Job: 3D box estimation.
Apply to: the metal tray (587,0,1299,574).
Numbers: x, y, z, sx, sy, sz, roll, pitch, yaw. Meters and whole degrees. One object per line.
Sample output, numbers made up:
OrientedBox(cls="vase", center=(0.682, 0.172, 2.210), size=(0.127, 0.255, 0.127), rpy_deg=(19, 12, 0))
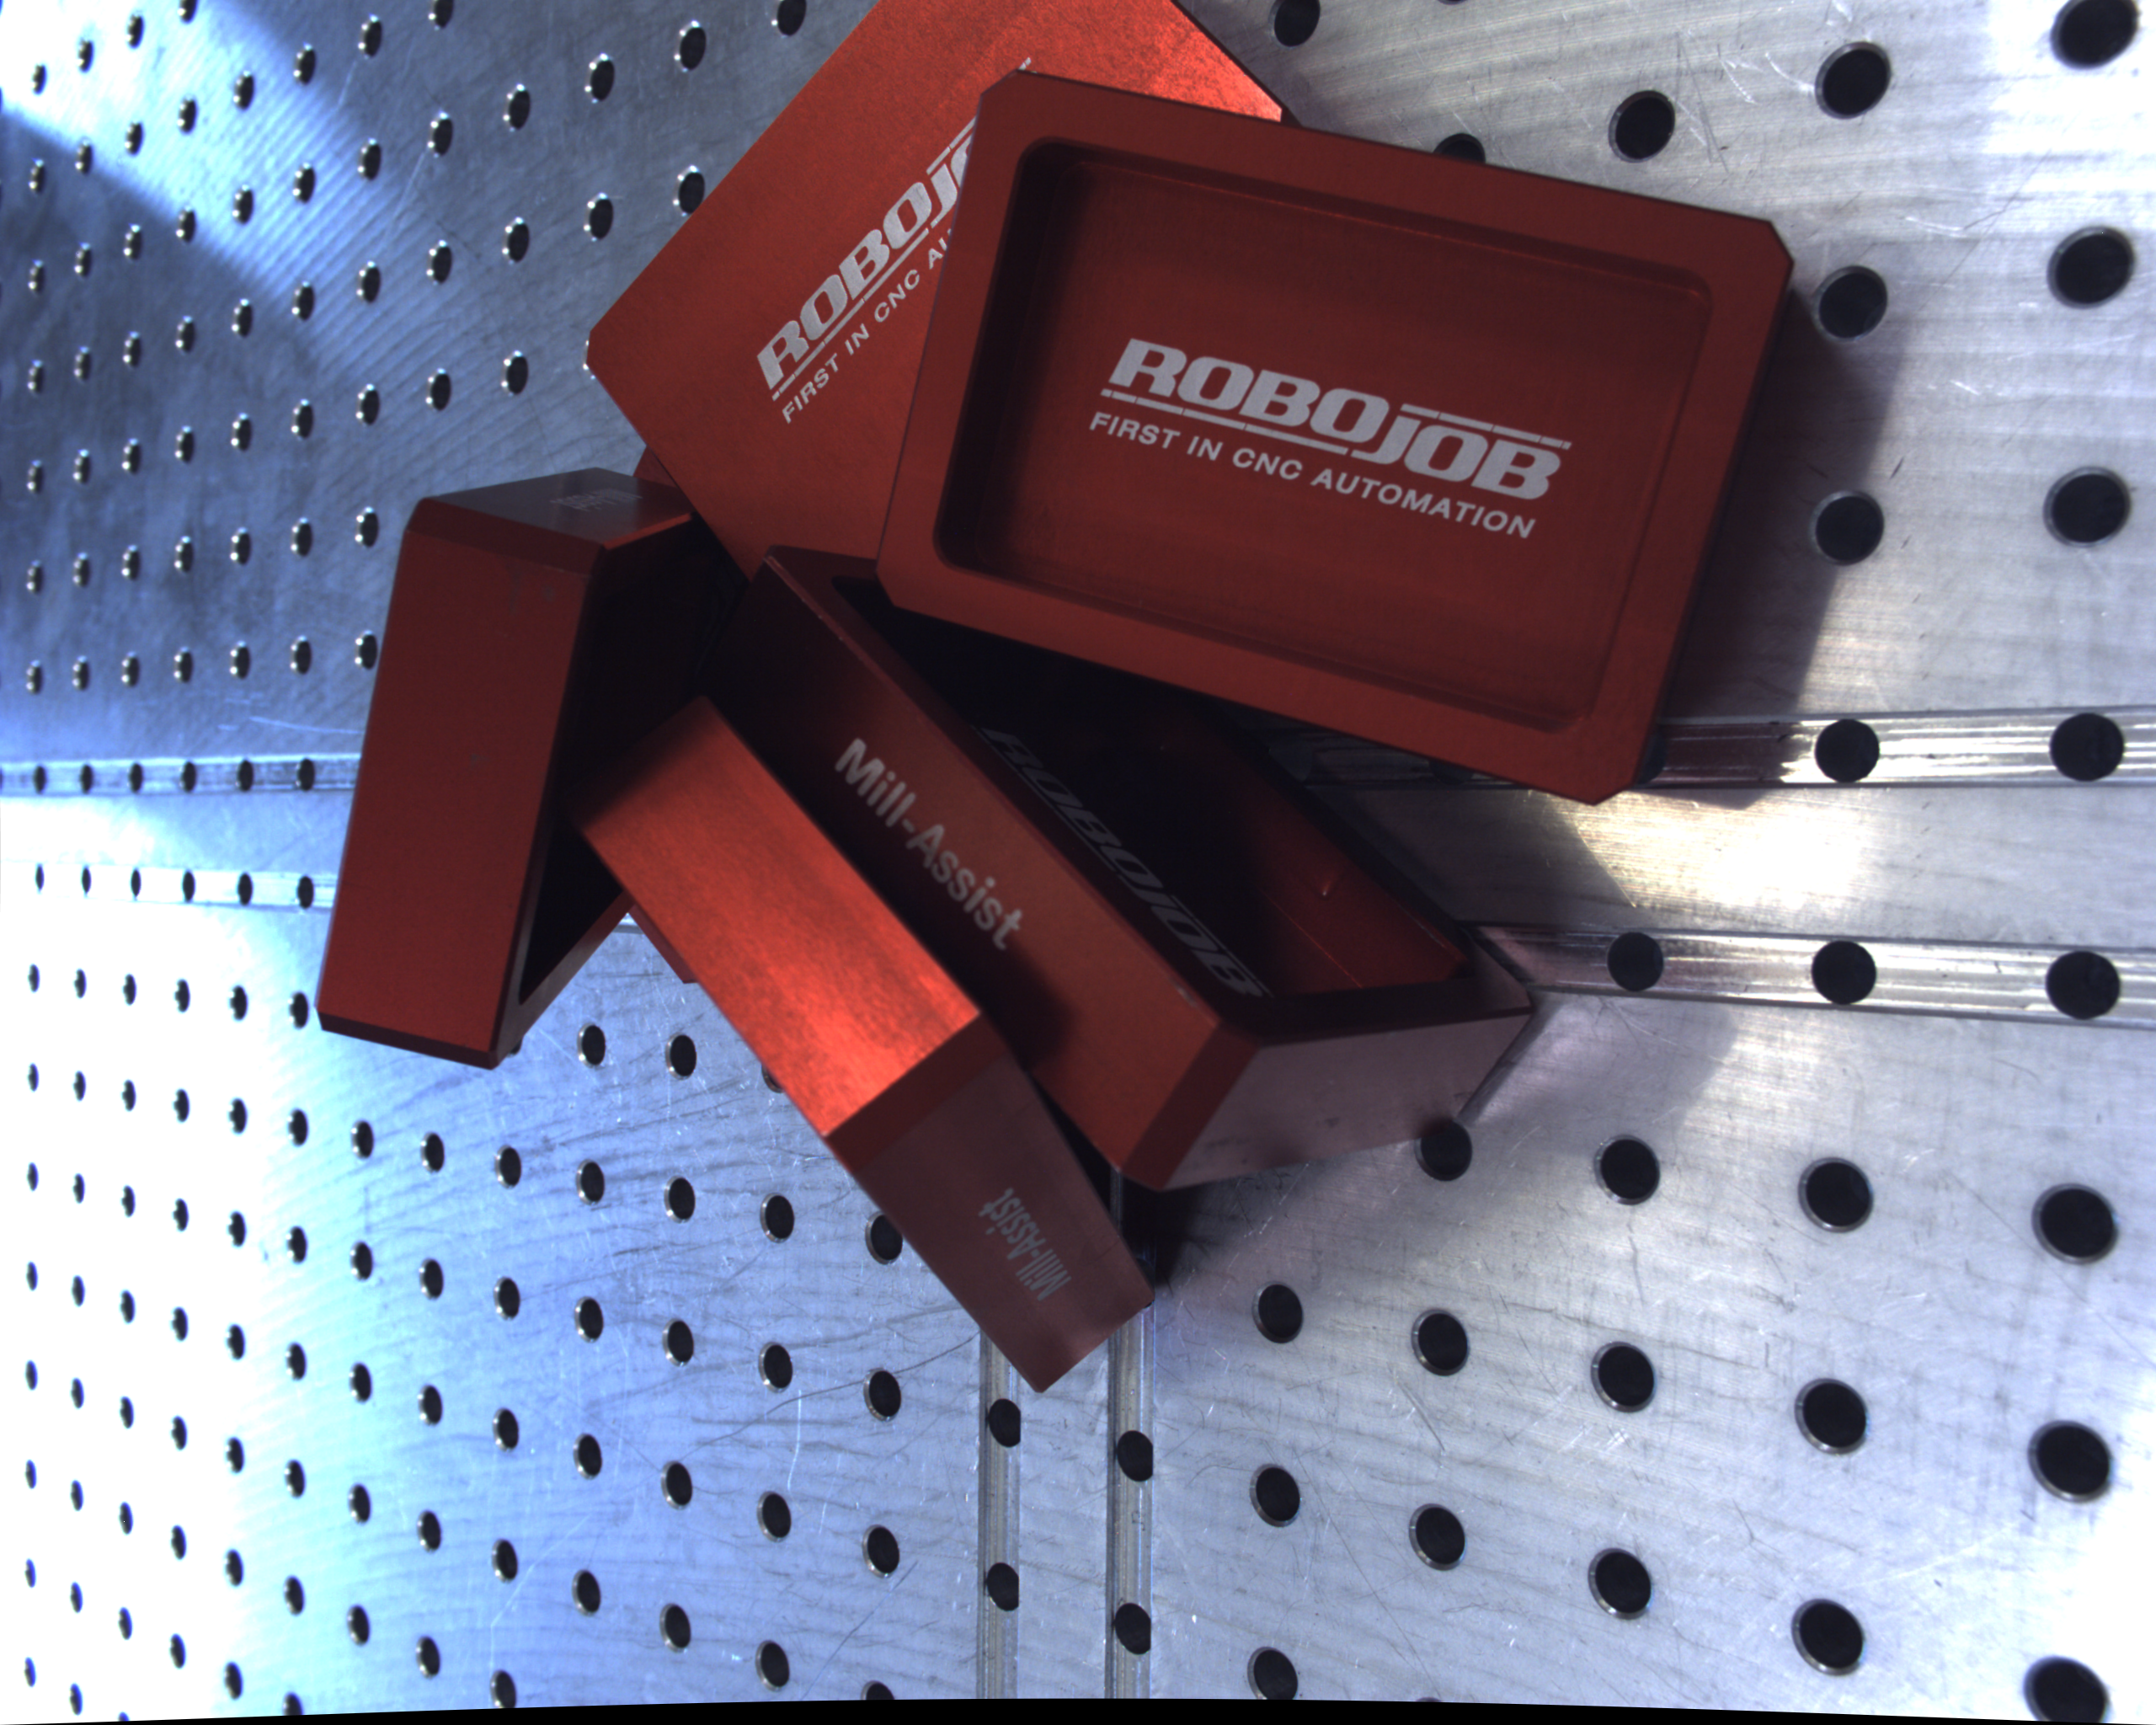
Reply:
OrientedBox(cls="metal tray", center=(-0.026, -0.114, 0.404), size=(0.130, 0.030, 0.090), rpy_deg=(-44, 66, 15))

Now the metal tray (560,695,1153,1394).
OrientedBox(cls="metal tray", center=(-0.036, 0.037, 0.377), size=(0.030, 0.130, 0.090), rpy_deg=(-38, 60, -9))

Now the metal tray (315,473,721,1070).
OrientedBox(cls="metal tray", center=(-0.100, -0.025, 0.394), size=(0.030, 0.130, 0.089), rpy_deg=(14, 102, -4))

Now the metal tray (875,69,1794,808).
OrientedBox(cls="metal tray", center=(0.039, -0.070, 0.343), size=(0.130, 0.030, 0.089), rpy_deg=(17, 102, 15))

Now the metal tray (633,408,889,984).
OrientedBox(cls="metal tray", center=(-0.071, -0.049, 0.466), size=(0.090, 0.030, 0.129), rpy_deg=(46, 117, 29))

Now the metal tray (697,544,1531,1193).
OrientedBox(cls="metal tray", center=(0.005, -0.003, 0.362), size=(0.130, 0.091, 0.030), rpy_deg=(46, 117, 30))
